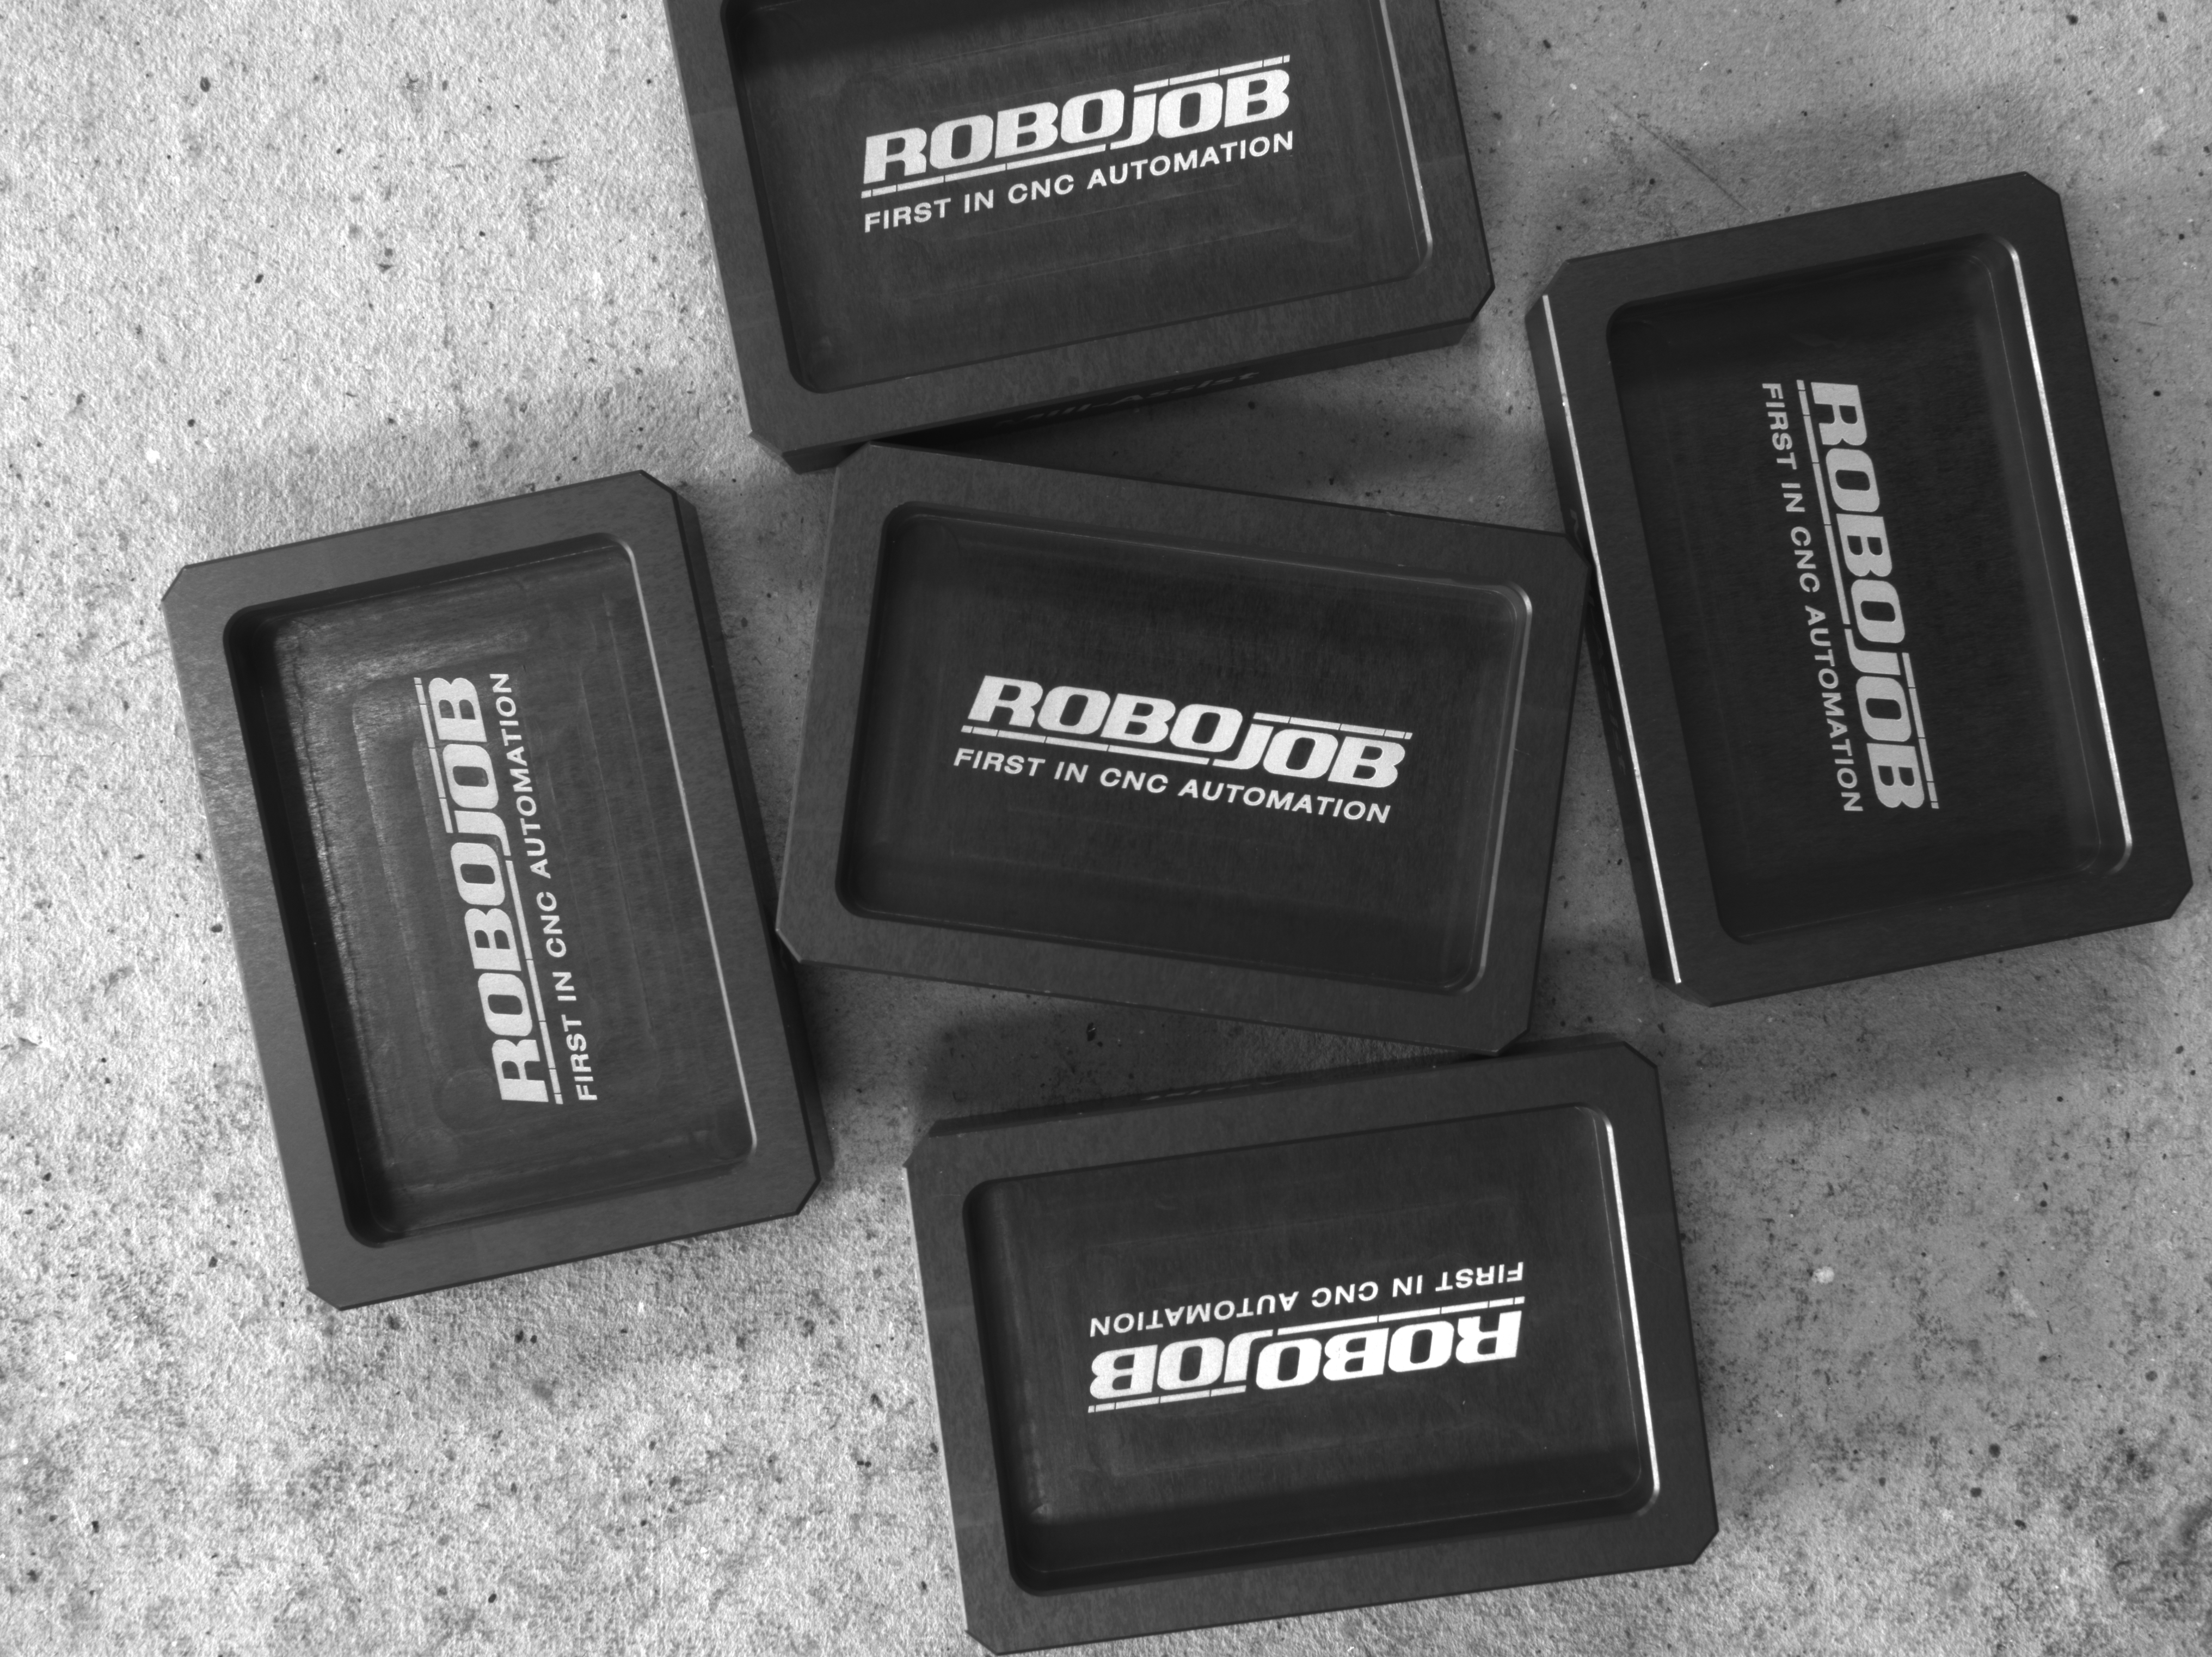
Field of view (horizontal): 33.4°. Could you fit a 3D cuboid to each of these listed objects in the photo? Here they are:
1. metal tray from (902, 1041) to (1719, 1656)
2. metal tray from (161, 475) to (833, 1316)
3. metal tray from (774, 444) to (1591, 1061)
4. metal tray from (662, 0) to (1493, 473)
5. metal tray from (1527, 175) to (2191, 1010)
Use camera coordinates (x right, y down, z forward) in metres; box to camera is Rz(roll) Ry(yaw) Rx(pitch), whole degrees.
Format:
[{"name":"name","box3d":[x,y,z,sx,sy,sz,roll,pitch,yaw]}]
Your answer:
[{"name":"metal tray","box3d":[0.035,0.090,0.643,0.130,0.030,0.090,-7,90,0]},{"name":"metal tray","box3d":[-0.105,0.012,0.643,0.090,0.030,0.130,-12,90,0]},{"name":"metal tray","box3d":[0.013,-0.013,0.643,0.130,0.030,0.090,8,92,1]},{"name":"metal tray","box3d":[-0.005,-0.118,0.644,0.130,0.030,0.090,-11,90,1]},{"name":"metal tray","box3d":[0.130,-0.040,0.644,0.090,0.030,0.130,-11,90,1]}]
